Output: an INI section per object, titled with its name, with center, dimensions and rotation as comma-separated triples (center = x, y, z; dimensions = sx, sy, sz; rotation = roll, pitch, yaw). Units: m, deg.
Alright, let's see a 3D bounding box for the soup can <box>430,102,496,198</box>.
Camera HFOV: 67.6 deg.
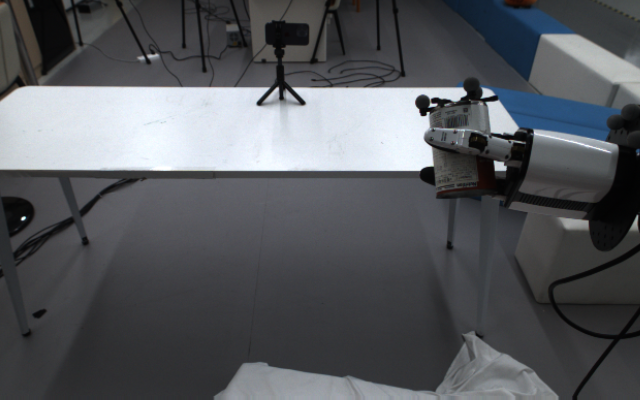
[soup can]
center = 0.165, -0.056, 0.557
dimensions = 0.067, 0.101, 0.067
rotation = -4, -5, 0
